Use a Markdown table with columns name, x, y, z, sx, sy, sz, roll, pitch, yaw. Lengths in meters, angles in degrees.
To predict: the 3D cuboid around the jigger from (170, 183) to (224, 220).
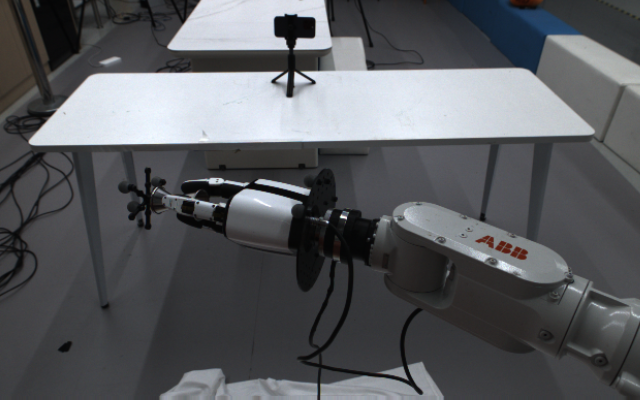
| name | x | y | z | sx | sy | sz | roll | pitch | yaw |
| --- | --- | --- | --- | --- | --- | --- | --- | --- | --- |
| jigger | -0.187 | 0.000 | 0.673 | 0.071 | 0.043 | 0.043 | 5 | 34 | 15 |
